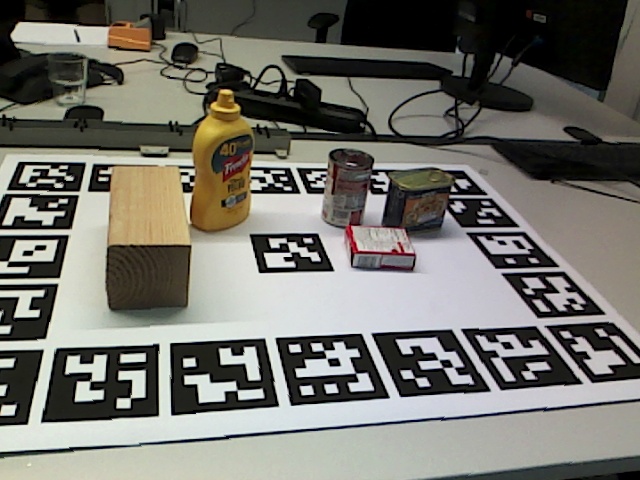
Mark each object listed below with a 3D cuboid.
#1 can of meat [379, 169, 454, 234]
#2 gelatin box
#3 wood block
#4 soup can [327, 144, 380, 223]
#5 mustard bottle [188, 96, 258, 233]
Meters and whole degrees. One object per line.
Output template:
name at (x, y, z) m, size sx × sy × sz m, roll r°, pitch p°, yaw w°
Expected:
can of meat at (0.146, -0.058, 0.949) m, size 0.101 × 0.083 × 0.058 m, roll -6°, pitch 34°, yaw -27°
gelatin box at (0.089, 0.010, 0.864) m, size 0.089 × 0.030 × 0.073 m, roll 3°, pitch 33°, yaw -4°
wood block at (-0.212, -0.012, 0.781) m, size 0.090 × 0.090 × 0.207 m, roll 1°, pitch 27°, yaw -14°
soup can at (0.049, -0.085, 0.936) m, size 0.068 × 0.102 × 0.068 m, roll 5°, pitch 32°, yaw -4°
mustard bottle at (-0.134, -0.107, 0.869) m, size 0.095 × 0.191 × 0.059 m, roll -15°, pitch 37°, yaw -36°
